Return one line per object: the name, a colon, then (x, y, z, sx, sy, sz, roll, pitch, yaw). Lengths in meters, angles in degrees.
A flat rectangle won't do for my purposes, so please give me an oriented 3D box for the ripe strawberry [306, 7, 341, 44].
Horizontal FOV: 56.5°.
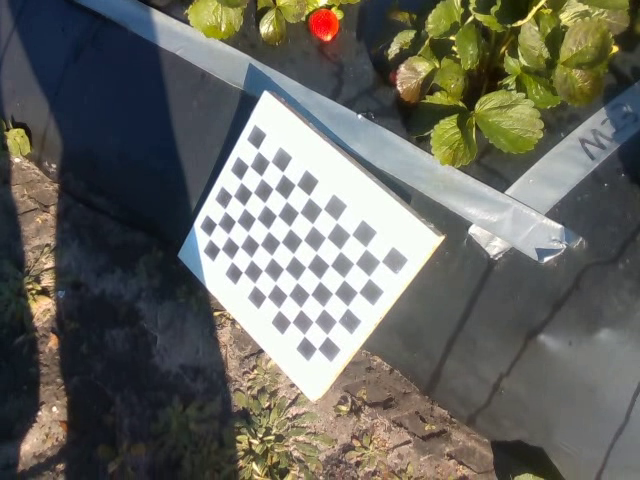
ripe strawberry: (0.006, -0.283, 0.789, 0.045, 0.059, 0.042, -27, -28, 31)
